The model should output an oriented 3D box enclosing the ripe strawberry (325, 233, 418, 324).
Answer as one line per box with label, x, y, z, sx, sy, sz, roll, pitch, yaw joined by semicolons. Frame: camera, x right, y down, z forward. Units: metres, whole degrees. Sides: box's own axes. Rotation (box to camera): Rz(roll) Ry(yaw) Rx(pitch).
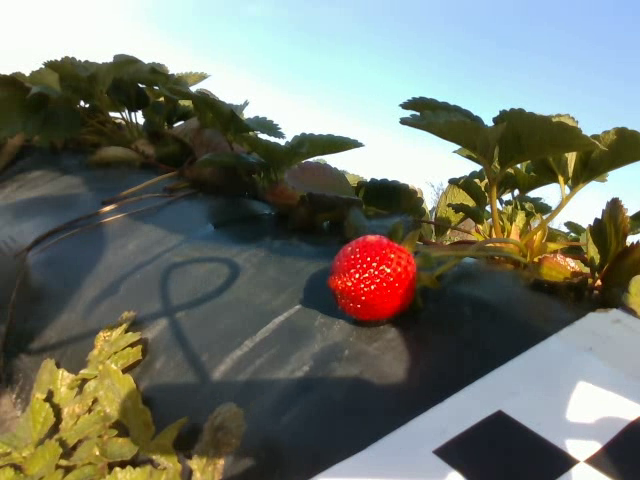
ripe strawberry;0.017;0.014;0.236;0.040;0.037;0.044;13;20;35
